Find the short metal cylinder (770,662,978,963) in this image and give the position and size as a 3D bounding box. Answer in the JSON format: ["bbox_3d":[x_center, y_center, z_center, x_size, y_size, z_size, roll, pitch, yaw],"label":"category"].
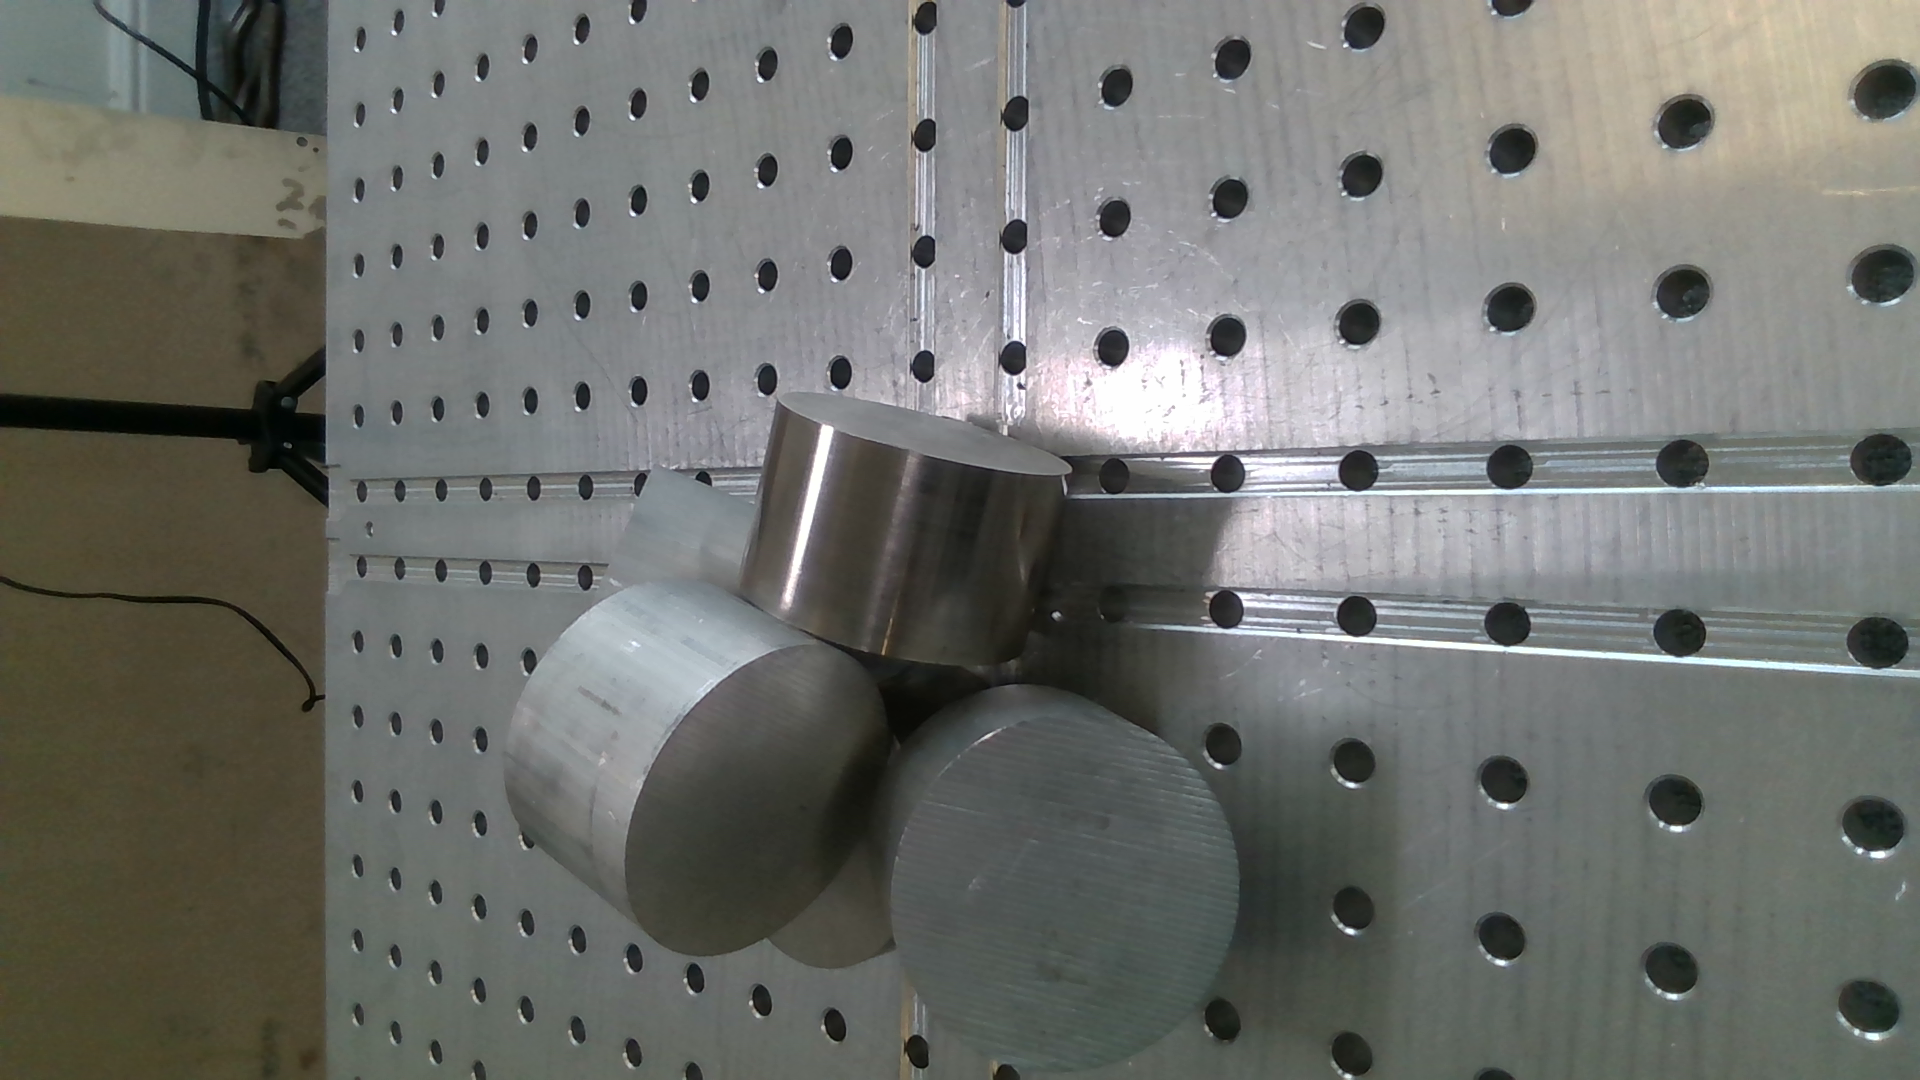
[{"bbox_3d":[-0.026,0.076,0.398,0.080,0.050,0.080,0,90,39],"label":"short metal cylinder"}]

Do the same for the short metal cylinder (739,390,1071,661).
[{"bbox_3d":[-0.015,-0.006,0.370,0.080,0.080,0.050,24,105,38],"label":"short metal cylinder"}]

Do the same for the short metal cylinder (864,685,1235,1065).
[{"bbox_3d":[0.019,0.077,0.333,0.050,0.080,0.080,-169,81,-80],"label":"short metal cylinder"}]

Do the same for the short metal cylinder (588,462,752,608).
[{"bbox_3d":[-0.086,0.022,0.423,0.080,0.050,0.080,-61,13,25],"label":"short metal cylinder"}]

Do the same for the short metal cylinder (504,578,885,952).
[{"bbox_3d":[-0.065,0.055,0.347,0.050,0.080,0.080,22,105,38],"label":"short metal cylinder"}]
